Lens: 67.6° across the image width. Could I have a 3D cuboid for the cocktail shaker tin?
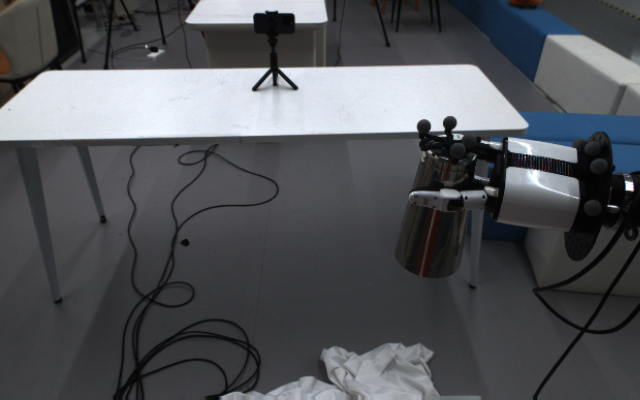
[{"bbox_3d":[0.159,0.005,0.646,0.093,0.170,0.093,3,33,-2],"label":"cocktail shaker tin"}]
